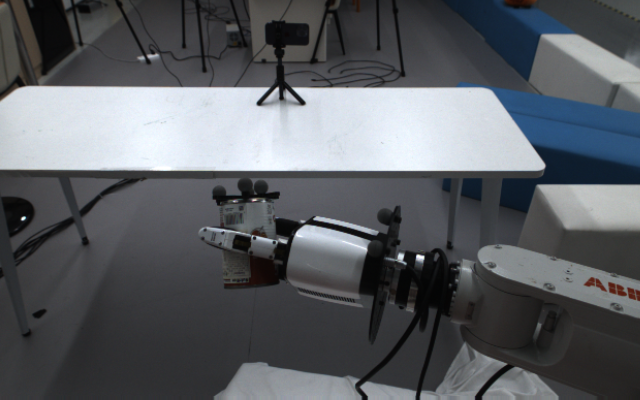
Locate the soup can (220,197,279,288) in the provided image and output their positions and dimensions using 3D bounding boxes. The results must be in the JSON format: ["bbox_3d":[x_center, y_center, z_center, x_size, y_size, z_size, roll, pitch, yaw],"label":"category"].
[{"bbox_3d":[-0.082,0.053,0.581,0.067,0.101,0.067,-5,-5,0],"label":"soup can"}]
